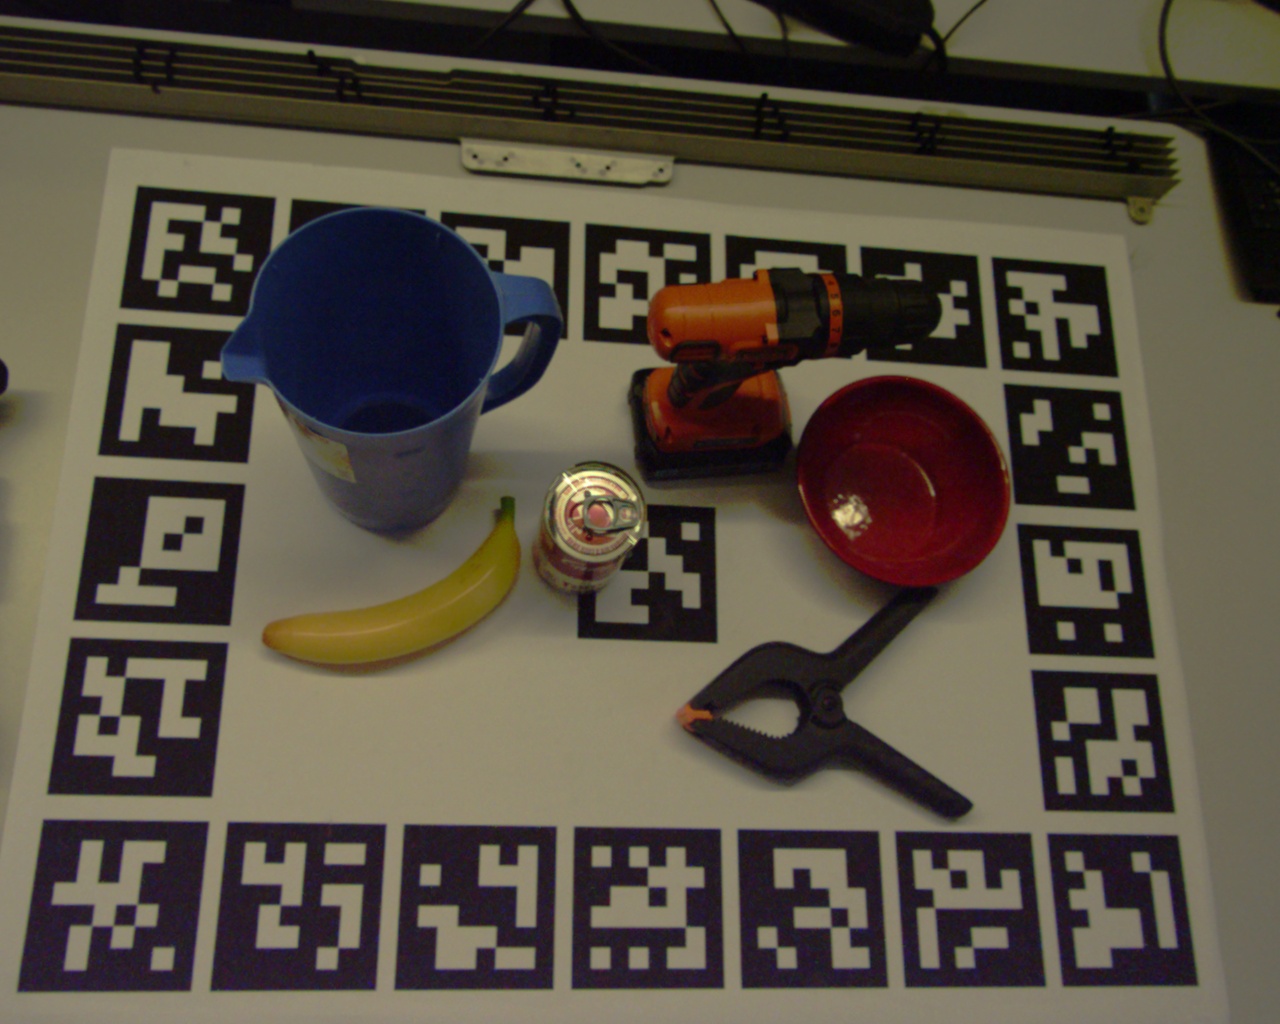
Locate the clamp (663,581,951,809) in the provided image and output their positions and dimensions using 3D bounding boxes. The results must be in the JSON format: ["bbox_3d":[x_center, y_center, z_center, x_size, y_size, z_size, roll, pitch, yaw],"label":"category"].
[{"bbox_3d":[0.118,0.133,0.818,0.202,0.037,0.165,-1,79,-9],"label":"clamp"}]

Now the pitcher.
[{"bbox_3d":[-0.154,-0.074,0.736,0.188,0.243,0.134,-23,76,-14],"label":"pitcher"}]

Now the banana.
[{"bbox_3d":[-0.172,0.062,0.805,0.196,0.039,0.075,-24,71,-16],"label":"banana"}]

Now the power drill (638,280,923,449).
[{"bbox_3d":[0.079,-0.100,0.787,0.183,0.187,0.057,-3,76,-11],"label":"power drill"}]

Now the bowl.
[{"bbox_3d":[0.174,-0.019,0.866,0.161,0.055,0.162,2,76,-8],"label":"bowl"}]

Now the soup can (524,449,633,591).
[{"bbox_3d":[-0.046,0.008,0.804,0.067,0.102,0.068,3,66,-8],"label":"soup can"}]
